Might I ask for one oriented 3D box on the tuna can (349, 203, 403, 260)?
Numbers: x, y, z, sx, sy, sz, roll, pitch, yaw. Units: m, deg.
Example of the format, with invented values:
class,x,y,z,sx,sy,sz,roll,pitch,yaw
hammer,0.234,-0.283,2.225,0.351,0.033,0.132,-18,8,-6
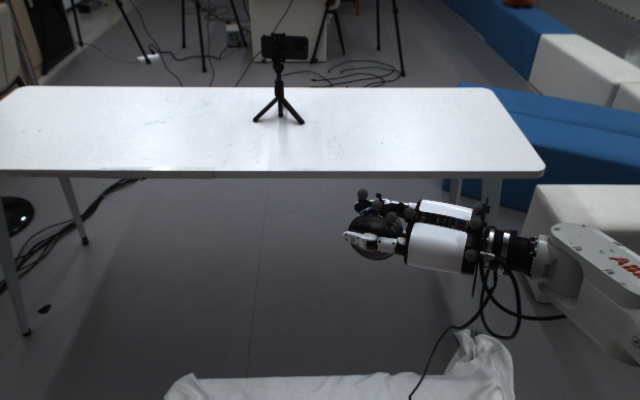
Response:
class,x,y,z,sx,sy,sz,roll,pitch,yaw
tuna can,0.094,0.053,0.793,0.085,0.085,0.034,16,28,19
